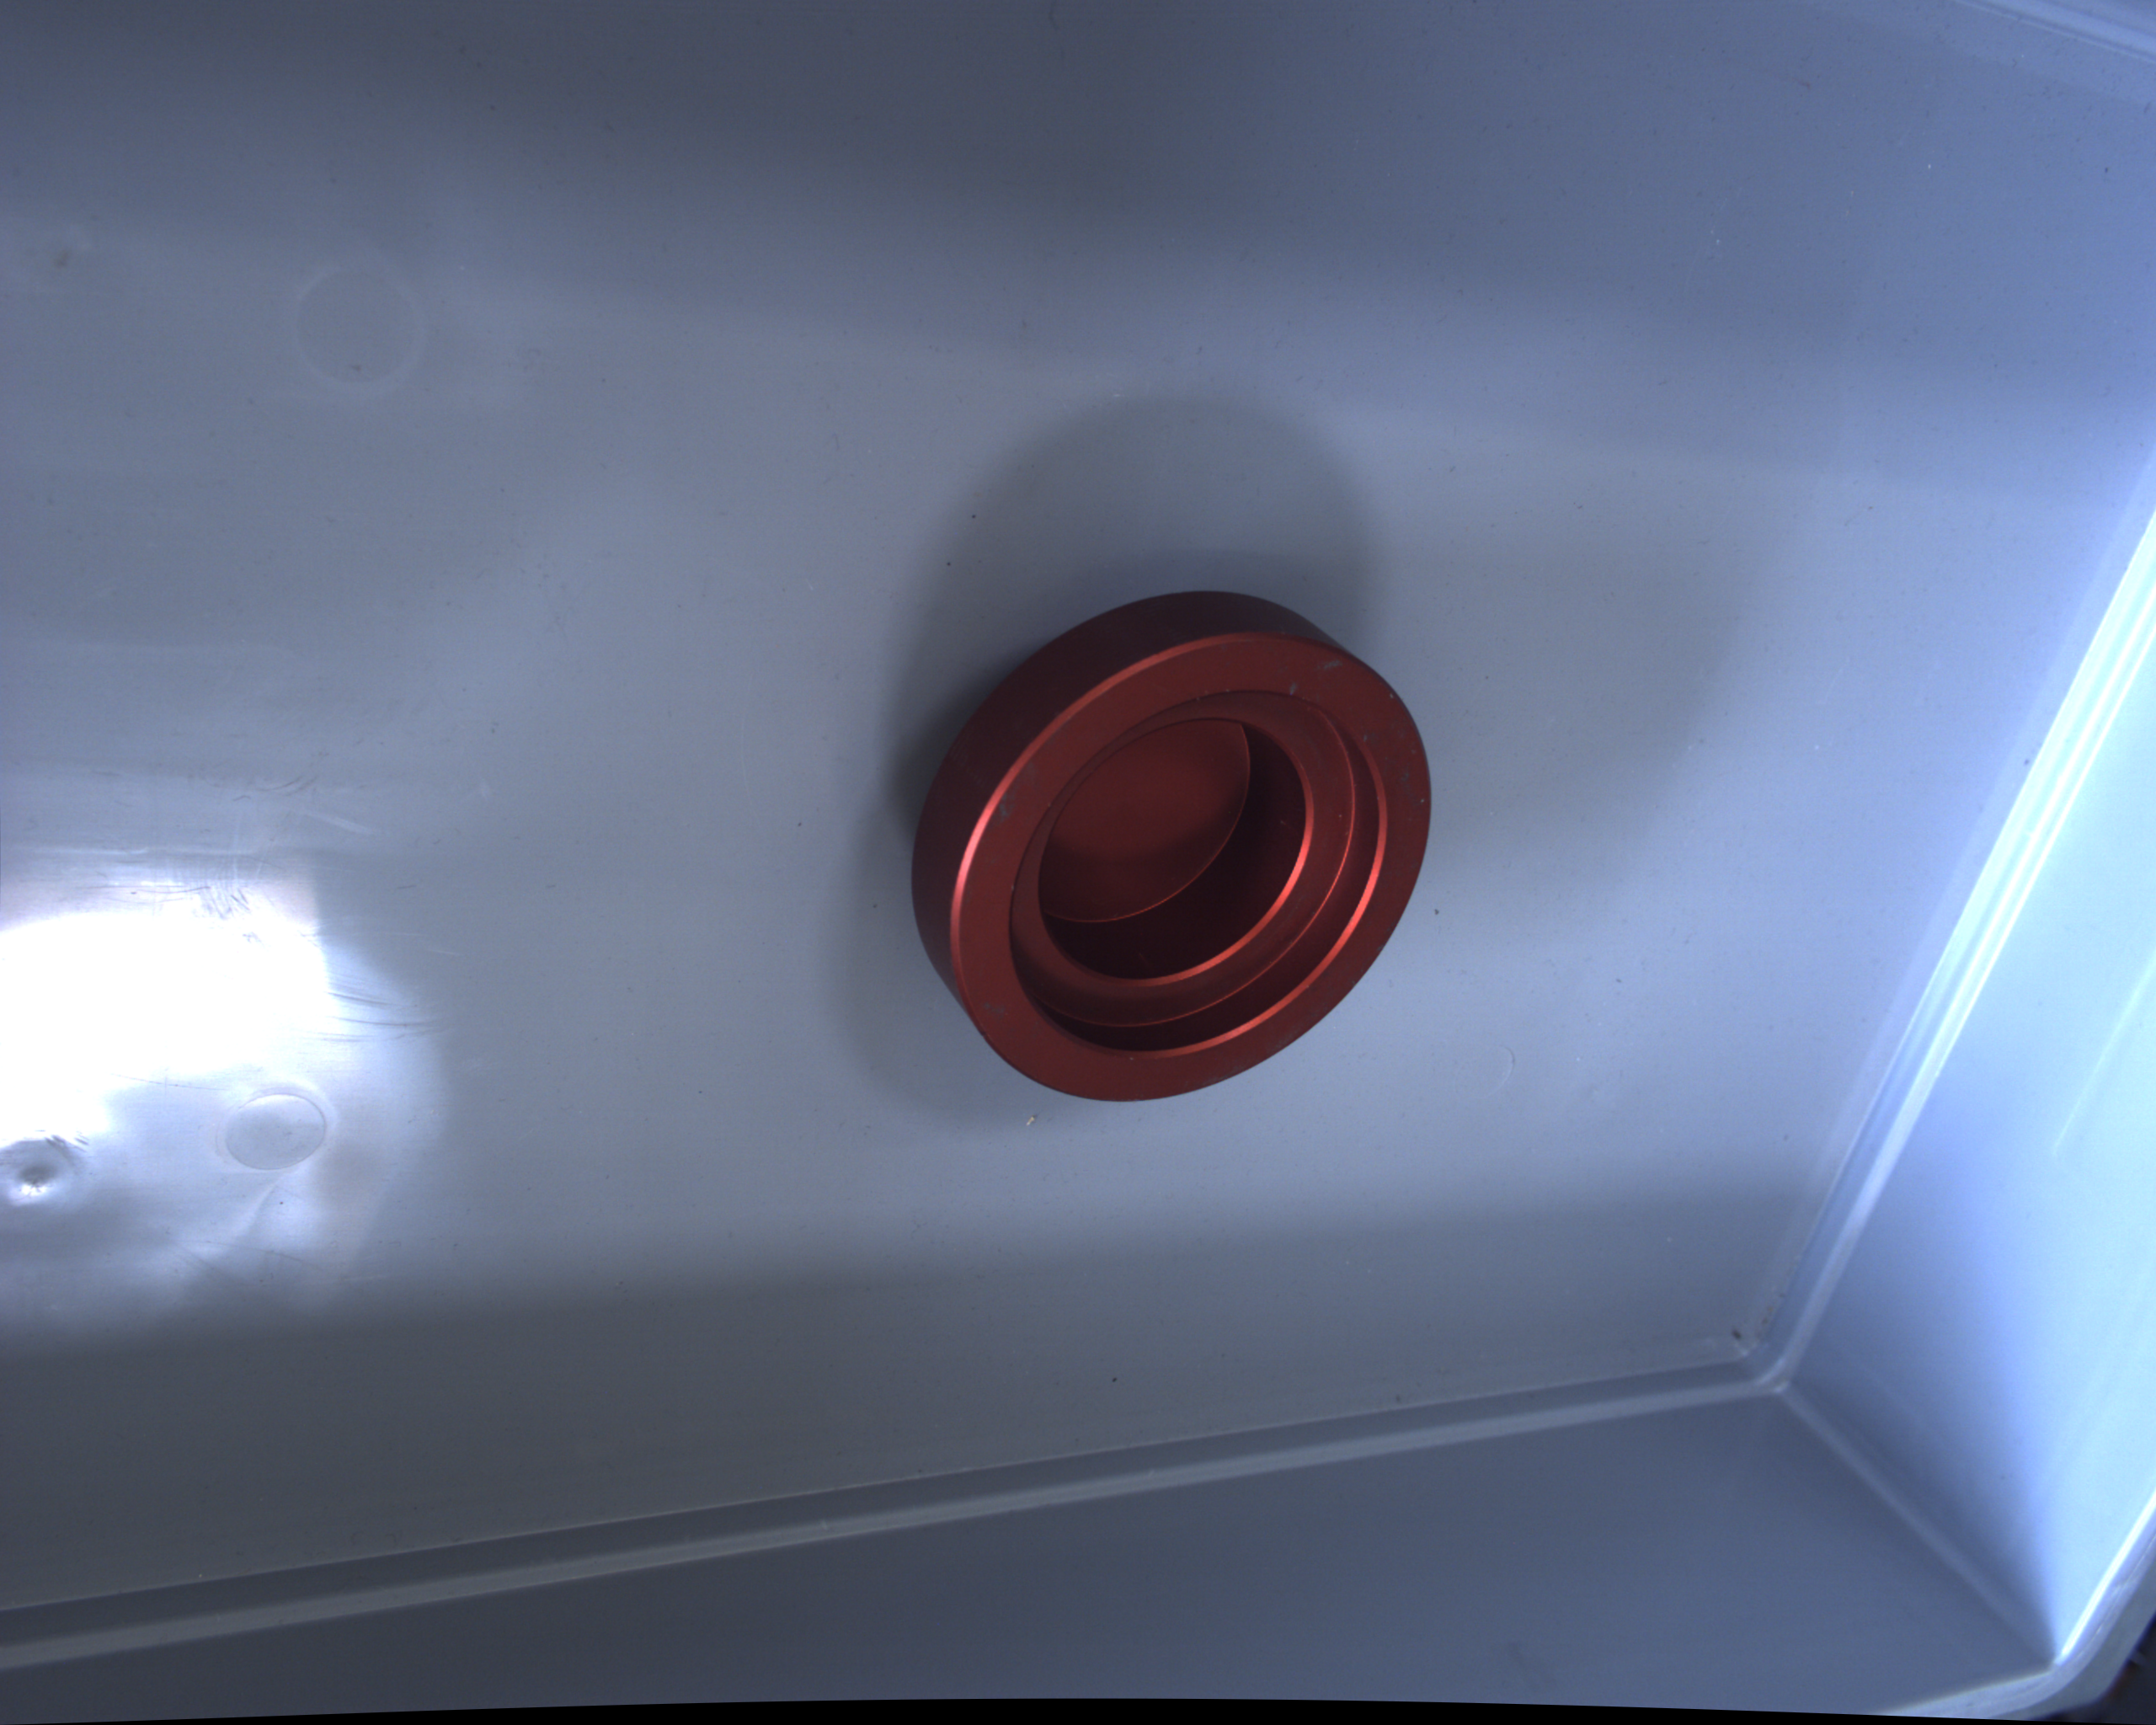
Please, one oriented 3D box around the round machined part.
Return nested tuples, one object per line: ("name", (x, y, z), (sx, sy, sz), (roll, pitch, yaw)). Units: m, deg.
("round machined part", (0.014, -0.006, 0.397), (0.099, 0.042, 0.097), (-14, 124, -21))
